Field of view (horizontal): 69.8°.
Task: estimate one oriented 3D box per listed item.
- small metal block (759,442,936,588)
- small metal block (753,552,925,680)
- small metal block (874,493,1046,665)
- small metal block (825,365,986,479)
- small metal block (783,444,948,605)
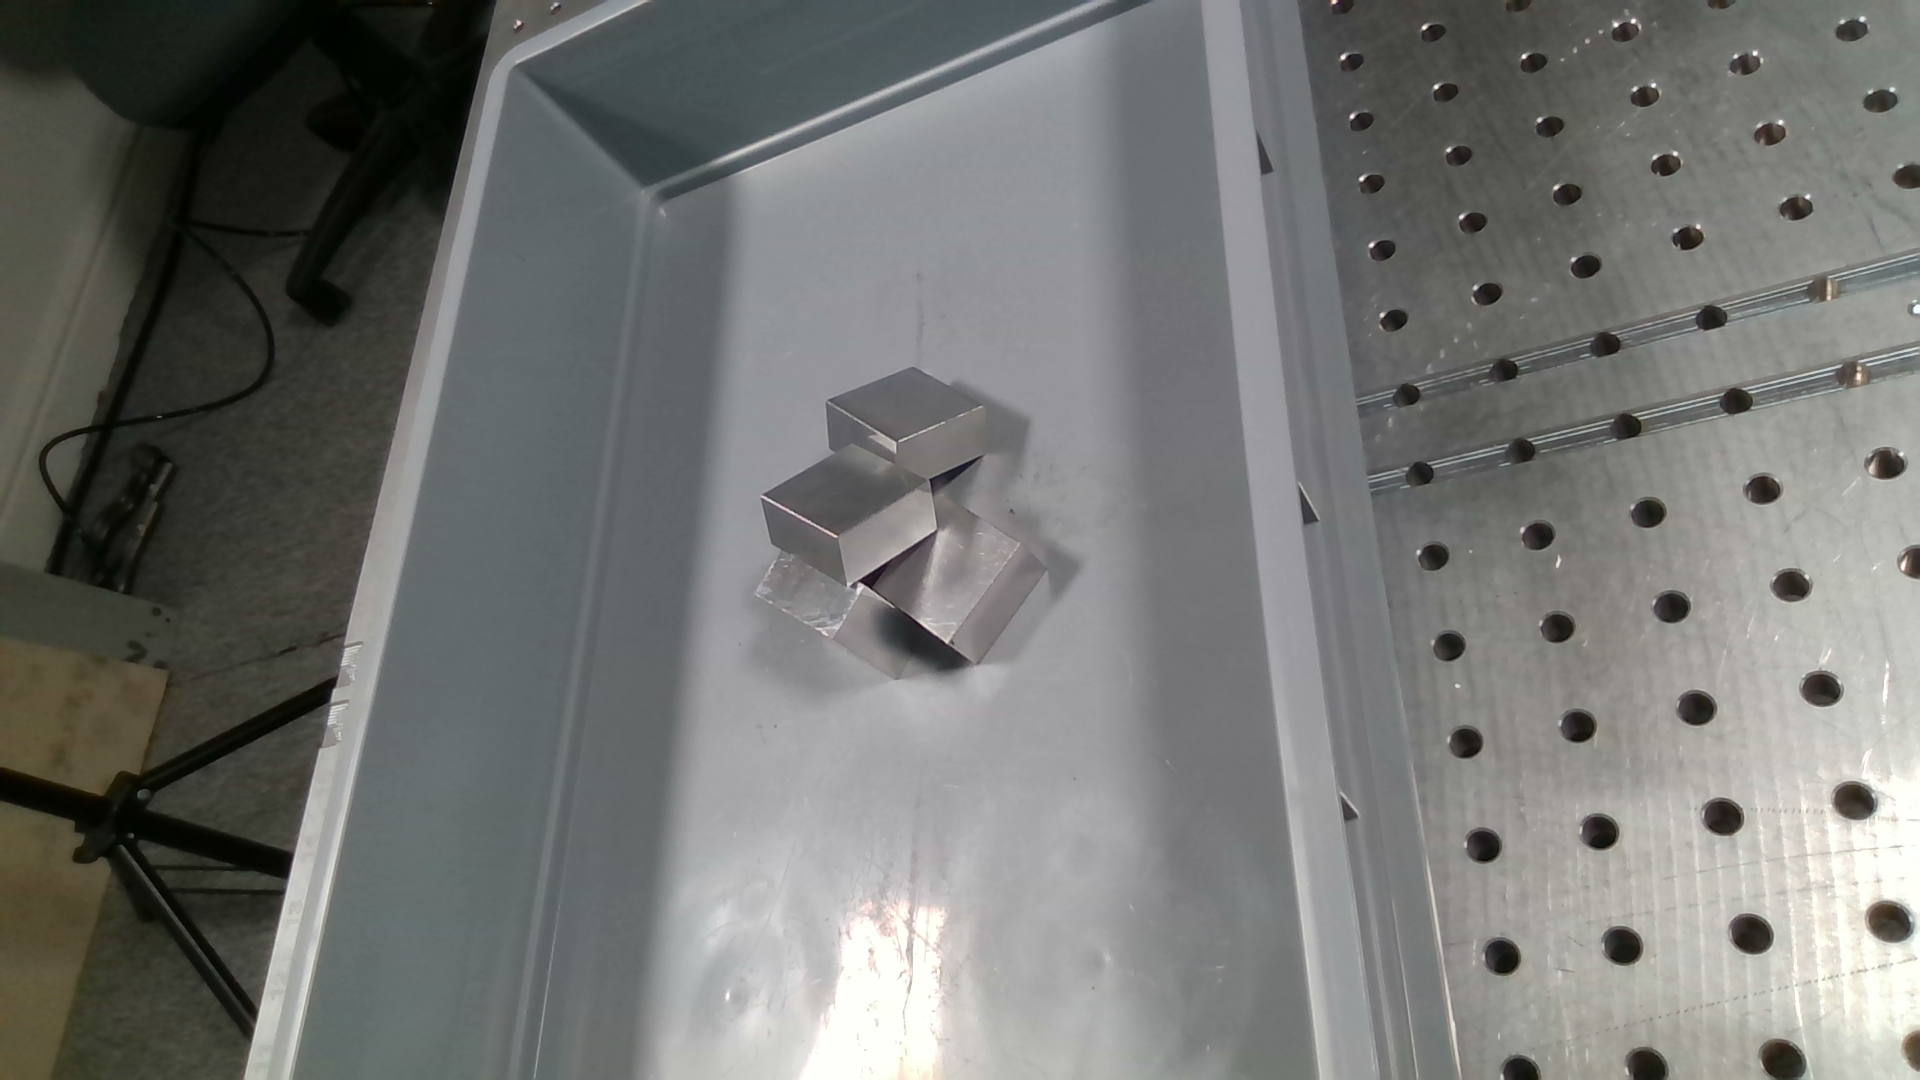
[{"bbox_3d":[-0.046,-0.011,0.571,0.050,0.025,0.050,-33,43,-32],"label":"small metal block"},{"bbox_3d":[-0.051,0.031,0.583,0.050,0.050,0.025,24,79,38],"label":"small metal block"},{"bbox_3d":[-0.001,0.016,0.576,0.050,0.025,0.050,33,85,39],"label":"small metal block"},{"bbox_3d":[-0.024,-0.050,0.609,0.050,0.025,0.050,-26,41,-32],"label":"small metal block"},{"bbox_3d":[-0.042,-0.007,0.614,0.050,0.025,0.050,33,85,39],"label":"small metal block"}]
